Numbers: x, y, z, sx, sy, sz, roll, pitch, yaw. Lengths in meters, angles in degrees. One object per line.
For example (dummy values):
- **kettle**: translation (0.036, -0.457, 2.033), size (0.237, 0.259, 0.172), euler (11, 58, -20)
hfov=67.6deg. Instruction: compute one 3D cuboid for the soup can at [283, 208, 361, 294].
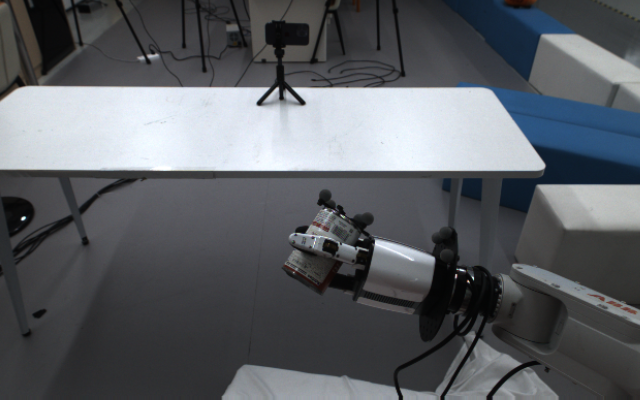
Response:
- **soup can**: translation (0.003, 0.069, 0.664), size (0.067, 0.067, 0.101), euler (26, 76, 31)
